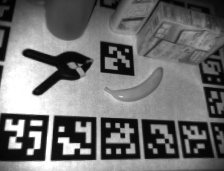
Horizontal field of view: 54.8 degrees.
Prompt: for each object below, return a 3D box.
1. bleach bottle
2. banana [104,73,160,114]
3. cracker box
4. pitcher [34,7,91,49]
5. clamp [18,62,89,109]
[{"bbox_3d":[0.055,-0.202,0.565,0.103,0.250,0.067,3,66,-15],"label":"bleach bottle"},{"bbox_3d":[0.075,0.025,0.605,0.199,0.039,0.074,-31,80,-26],"label":"banana"},{"bbox_3d":[0.199,-0.112,0.606,0.215,0.164,0.071,5,64,-14],"label":"cracker box"},{"bbox_3d":[-0.119,-0.185,0.479,0.190,0.241,0.132,-14,72,-25],"label":"pitcher"},{"bbox_3d":[-0.136,-0.015,0.543,0.167,0.036,0.121,-12,71,-24],"label":"clamp"}]
